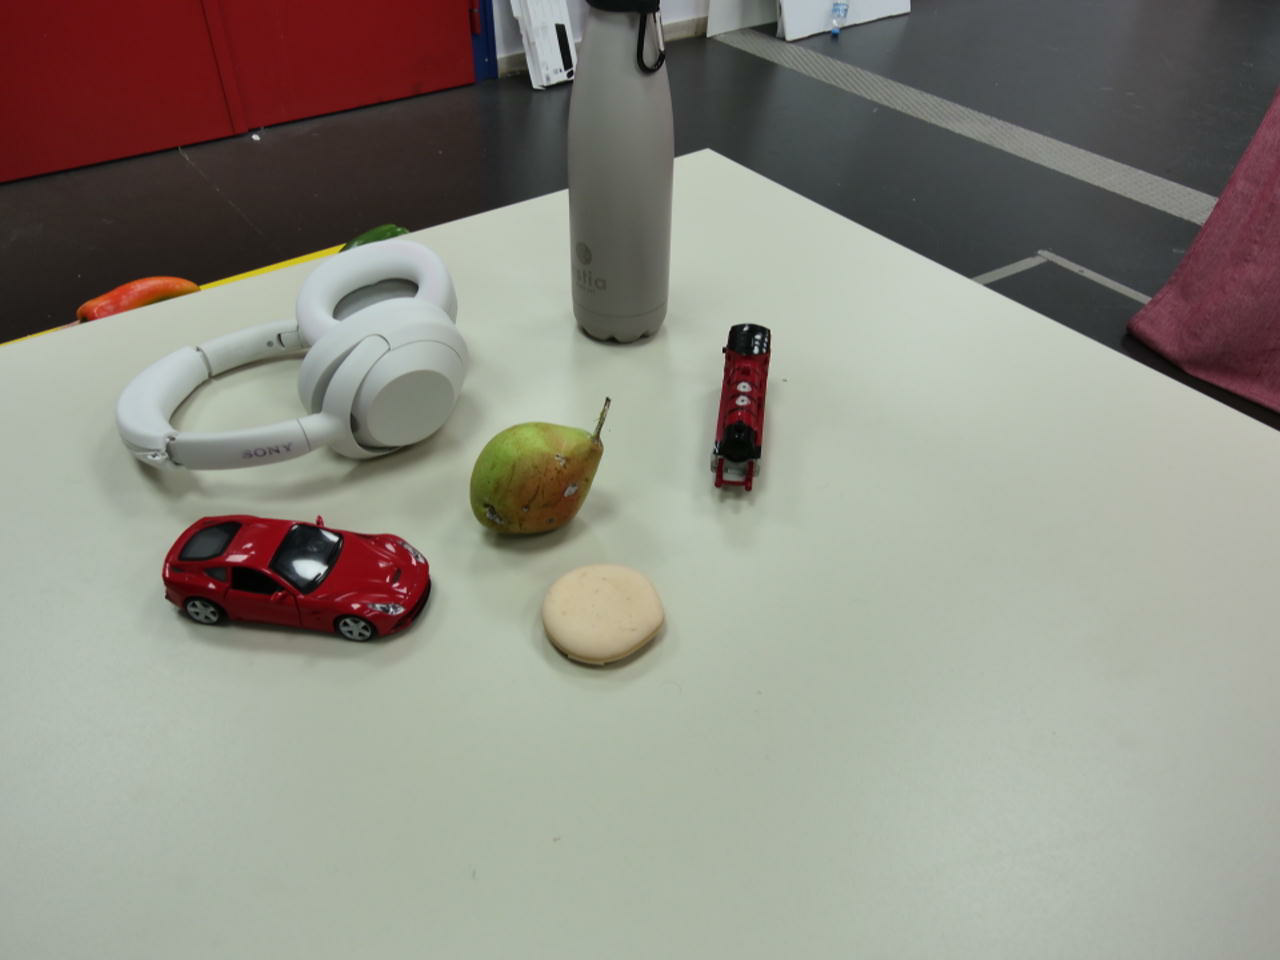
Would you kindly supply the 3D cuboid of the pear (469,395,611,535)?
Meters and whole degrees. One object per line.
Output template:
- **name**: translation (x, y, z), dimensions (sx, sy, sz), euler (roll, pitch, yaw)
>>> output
- **pear**: translation (-0.058, -0.004, 0.558), dimensions (0.070, 0.069, 0.068), euler (9, 39, 11)
